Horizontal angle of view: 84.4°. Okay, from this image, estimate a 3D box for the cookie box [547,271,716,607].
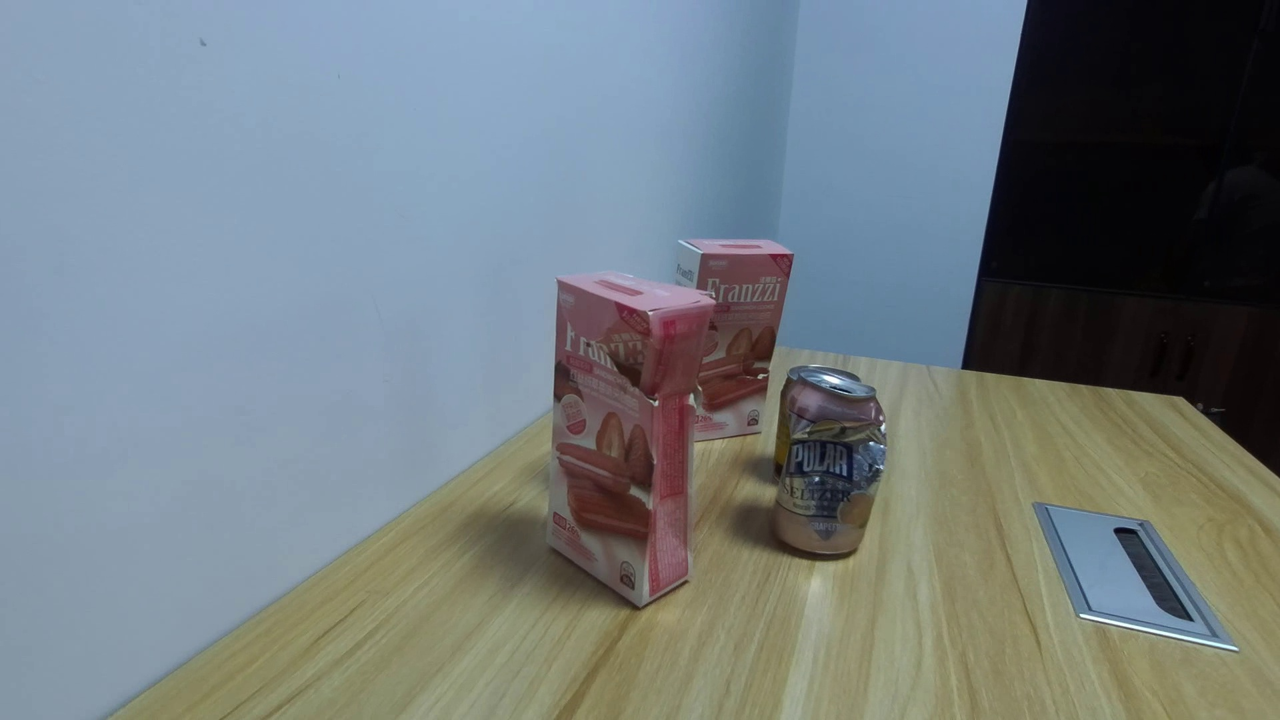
[{"bbox_3d":[-0.009,0.045,0.435,0.060,0.186,0.104,-13,24,-39],"label":"cookie box"}]

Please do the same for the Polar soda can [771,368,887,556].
[{"bbox_3d":[0.131,0.071,0.493,0.071,0.121,0.066,5,11,7],"label":"Polar soda can"}]

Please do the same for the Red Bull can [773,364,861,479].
[{"bbox_3d":[0.142,0.057,0.567,0.069,0.092,0.069,1,16,0],"label":"Red Bull can"}]

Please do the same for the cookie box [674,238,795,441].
[{"bbox_3d":[0.080,-0.016,0.658,0.105,0.187,0.048,-4,25,-23],"label":"cookie box"}]
